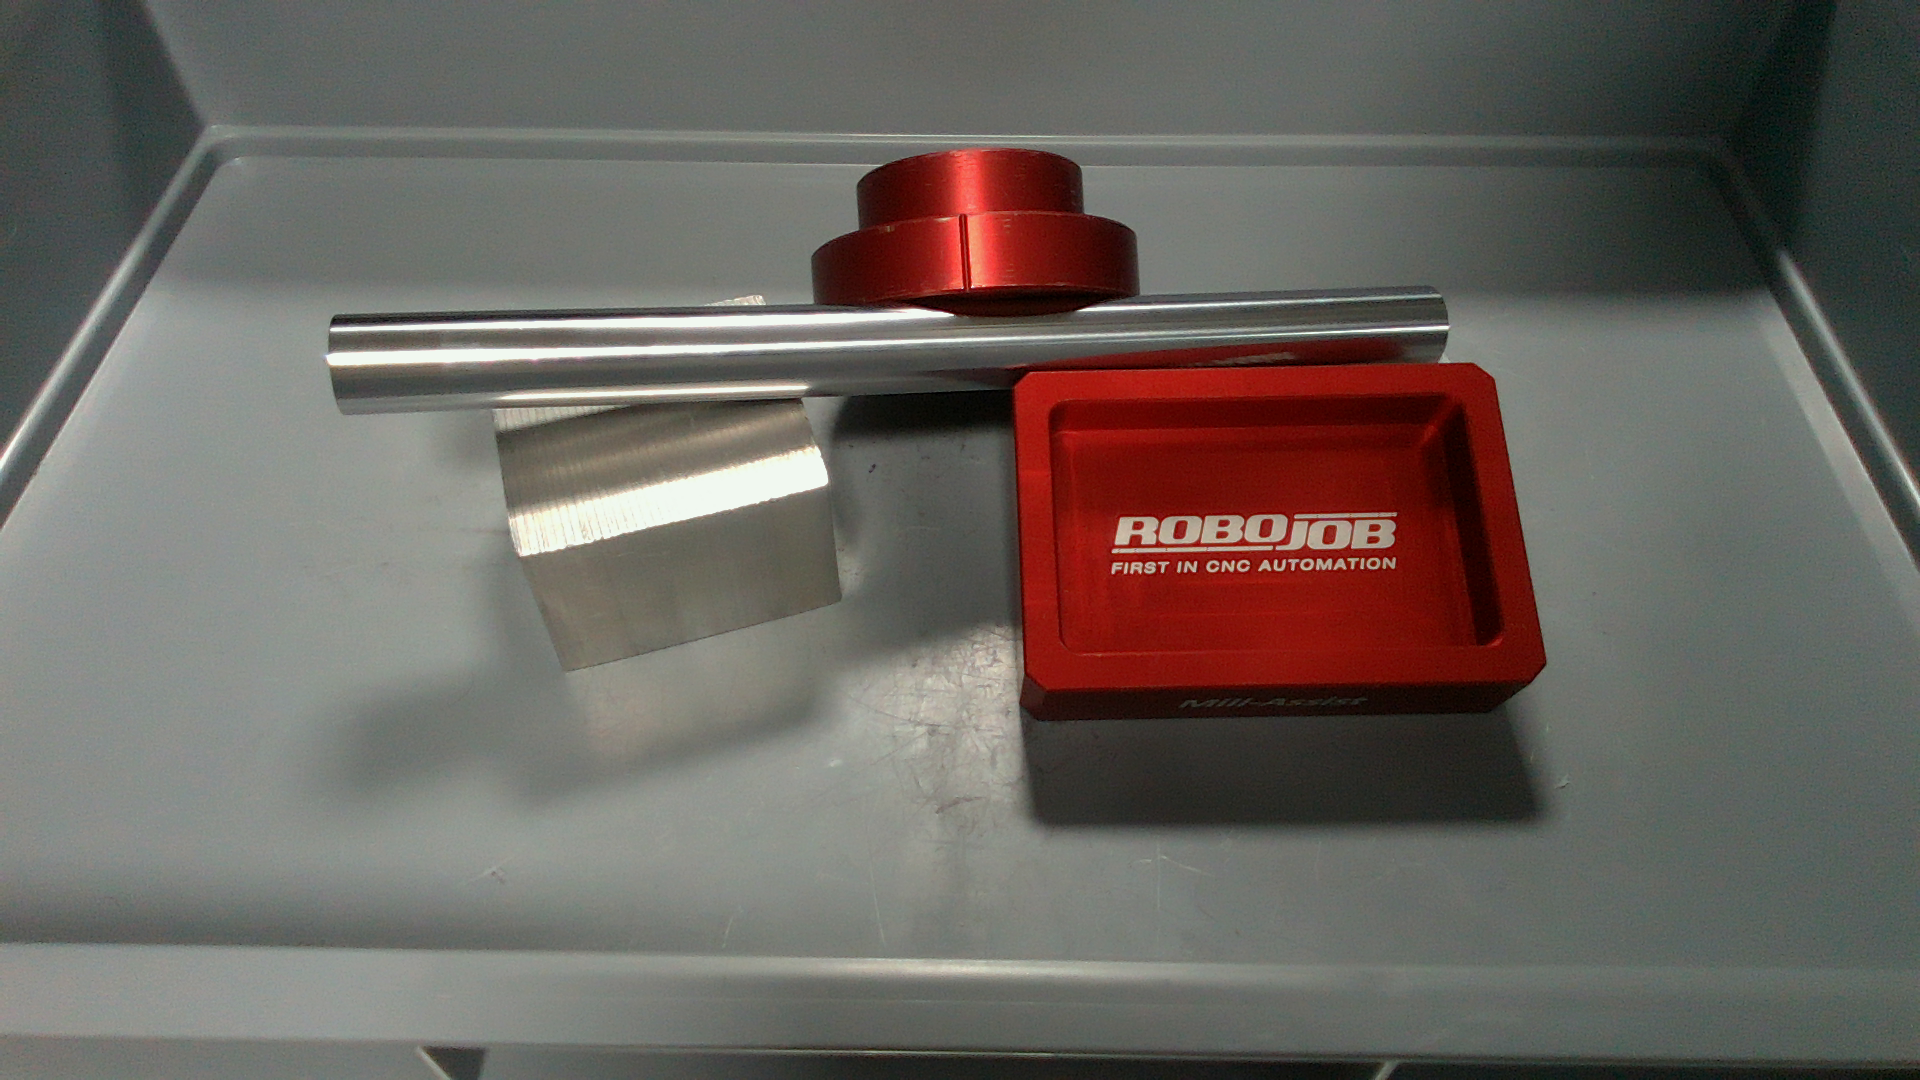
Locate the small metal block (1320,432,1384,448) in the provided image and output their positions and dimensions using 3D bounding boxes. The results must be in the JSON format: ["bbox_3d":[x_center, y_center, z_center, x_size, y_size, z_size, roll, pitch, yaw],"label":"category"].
[{"bbox_3d":[0.124,-0.043,0.426,0.050,0.025,0.050,-9,50,-7],"label":"small metal block"}]

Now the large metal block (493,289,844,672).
[{"bbox_3d":[-0.083,-0.019,0.388,0.080,0.050,0.080,-14,51,-11],"label":"large metal block"}]

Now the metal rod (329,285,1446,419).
[{"bbox_3d":[-0.008,-0.053,0.376,0.301,0.025,0.025,-4,50,-13],"label":"metal rod"}]

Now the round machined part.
[{"bbox_3d":[0.004,-0.088,0.414,0.098,0.098,0.042,-4,90,-3],"label":"round machined part"}]

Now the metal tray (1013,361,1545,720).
[{"bbox_3d":[0.080,0.000,0.369,0.130,0.030,0.090,-1,69,-1],"label":"metal tray"}]
